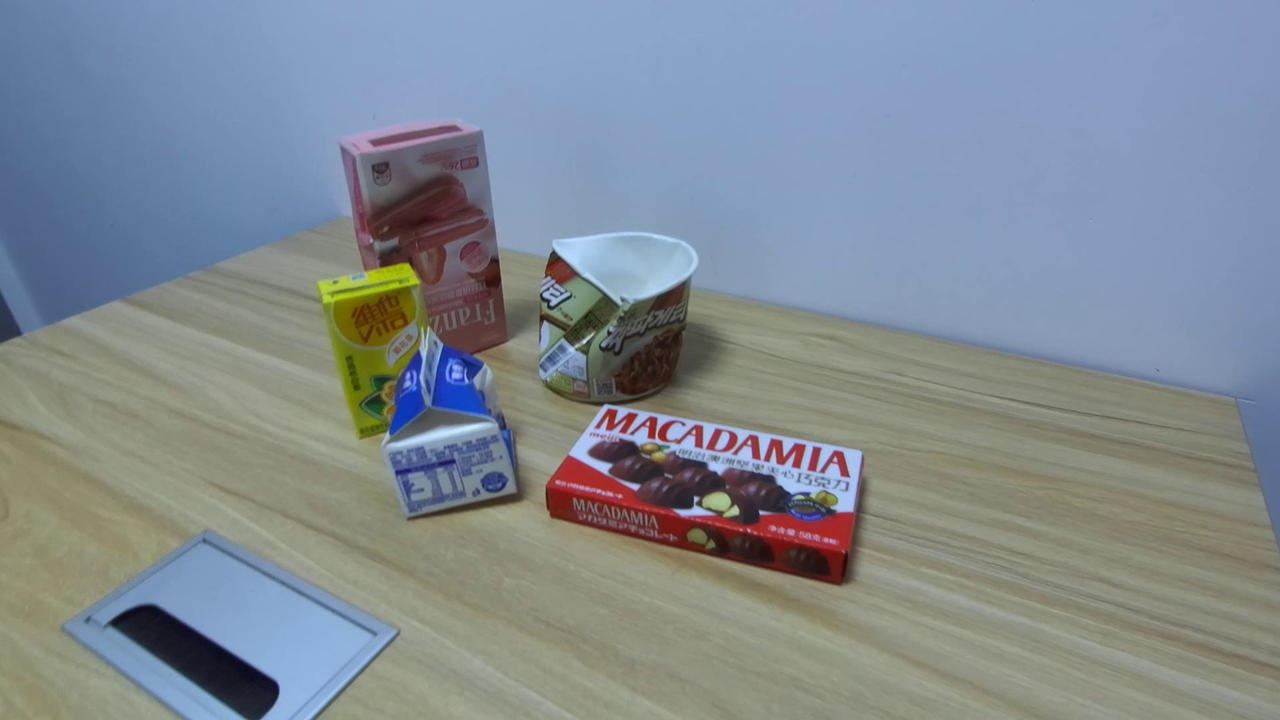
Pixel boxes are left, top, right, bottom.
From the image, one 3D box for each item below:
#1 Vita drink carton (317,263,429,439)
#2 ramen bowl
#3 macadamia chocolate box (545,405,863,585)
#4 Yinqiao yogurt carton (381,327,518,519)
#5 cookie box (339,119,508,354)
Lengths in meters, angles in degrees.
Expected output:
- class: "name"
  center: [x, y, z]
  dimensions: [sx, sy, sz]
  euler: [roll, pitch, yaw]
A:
- class: "Vita drink carton"
  center: [-0.184, -0.007, 0.509]
  dimensions: [0.067, 0.109, 0.043]
  euler: [-16, 32, -24]
- class: "ramen bowl"
  center: [-0.016, -0.034, 0.557]
  dimensions: [0.137, 0.098, 0.137]
  euler: [0, 33, 0]
- class: "macadamia chocolate box"
  center: [0.042, 0.076, 0.436]
  dimensions: [0.177, 0.027, 0.096]
  euler: [9, 31, 18]
- class: "Yinqiao yogurt carton"
  center: [-0.123, 0.036, 0.449]
  dimensions: [0.071, 0.094, 0.077]
  euler: [-12, 30, -6]
- class: "cookie box"
  center: [-0.171, -0.088, 0.568]
  dimensions: [0.105, 0.188, 0.048]
  euler: [-22, 37, -31]
